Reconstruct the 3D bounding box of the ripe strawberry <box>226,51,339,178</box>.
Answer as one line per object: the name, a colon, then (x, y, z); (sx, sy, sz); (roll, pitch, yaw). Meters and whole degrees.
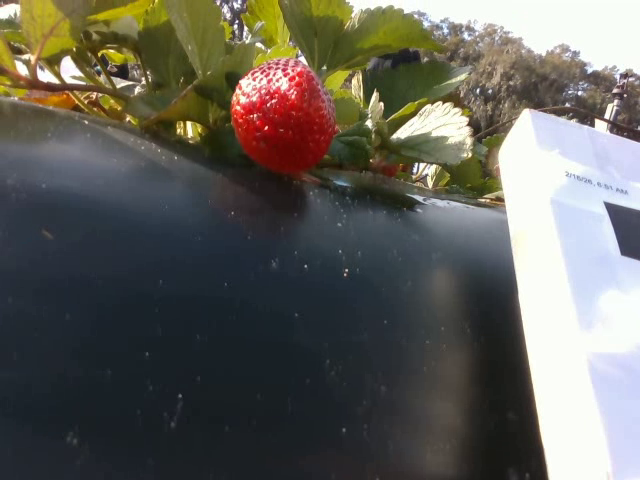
ripe strawberry: (-0.008, -0.041, 0.177); (0.041, 0.041, 0.047); (-16, -1, -17)
